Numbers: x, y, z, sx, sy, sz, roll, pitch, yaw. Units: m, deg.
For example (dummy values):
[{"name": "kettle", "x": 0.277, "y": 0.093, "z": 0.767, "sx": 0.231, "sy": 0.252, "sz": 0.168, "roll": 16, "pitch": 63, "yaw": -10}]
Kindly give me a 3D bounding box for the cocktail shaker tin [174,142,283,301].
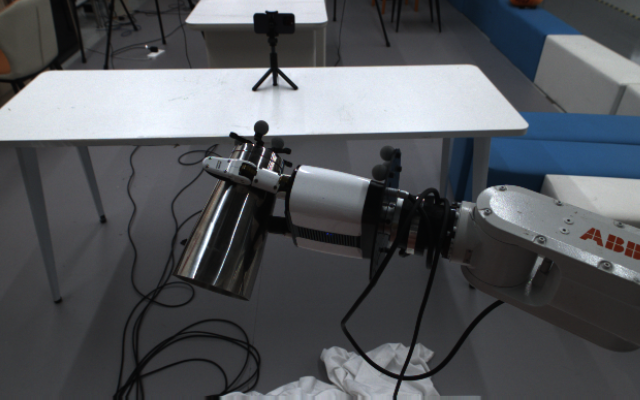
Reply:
[{"name": "cocktail shaker tin", "x": -0.098, "y": 0.021, "z": 0.573, "sx": 0.093, "sy": 0.093, "sz": 0.170, "roll": 13, "pitch": 71, "yaw": 15}]
